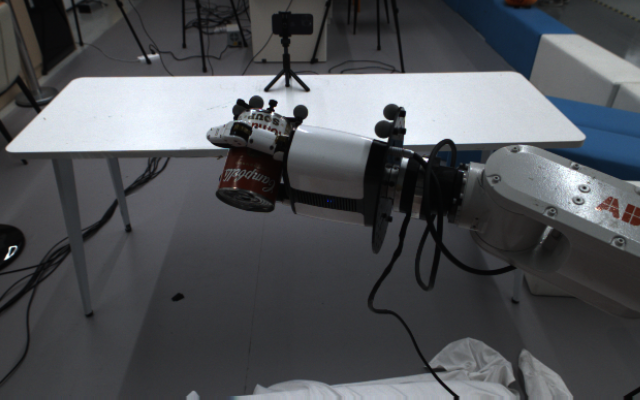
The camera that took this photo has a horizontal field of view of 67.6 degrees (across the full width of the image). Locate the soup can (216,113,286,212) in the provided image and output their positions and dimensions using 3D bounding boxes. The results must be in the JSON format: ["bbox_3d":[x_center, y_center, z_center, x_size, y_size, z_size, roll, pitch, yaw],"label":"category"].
[{"bbox_3d":[-0.072,-0.044,0.553,0.067,0.067,0.101,9,71,9],"label":"soup can"}]
